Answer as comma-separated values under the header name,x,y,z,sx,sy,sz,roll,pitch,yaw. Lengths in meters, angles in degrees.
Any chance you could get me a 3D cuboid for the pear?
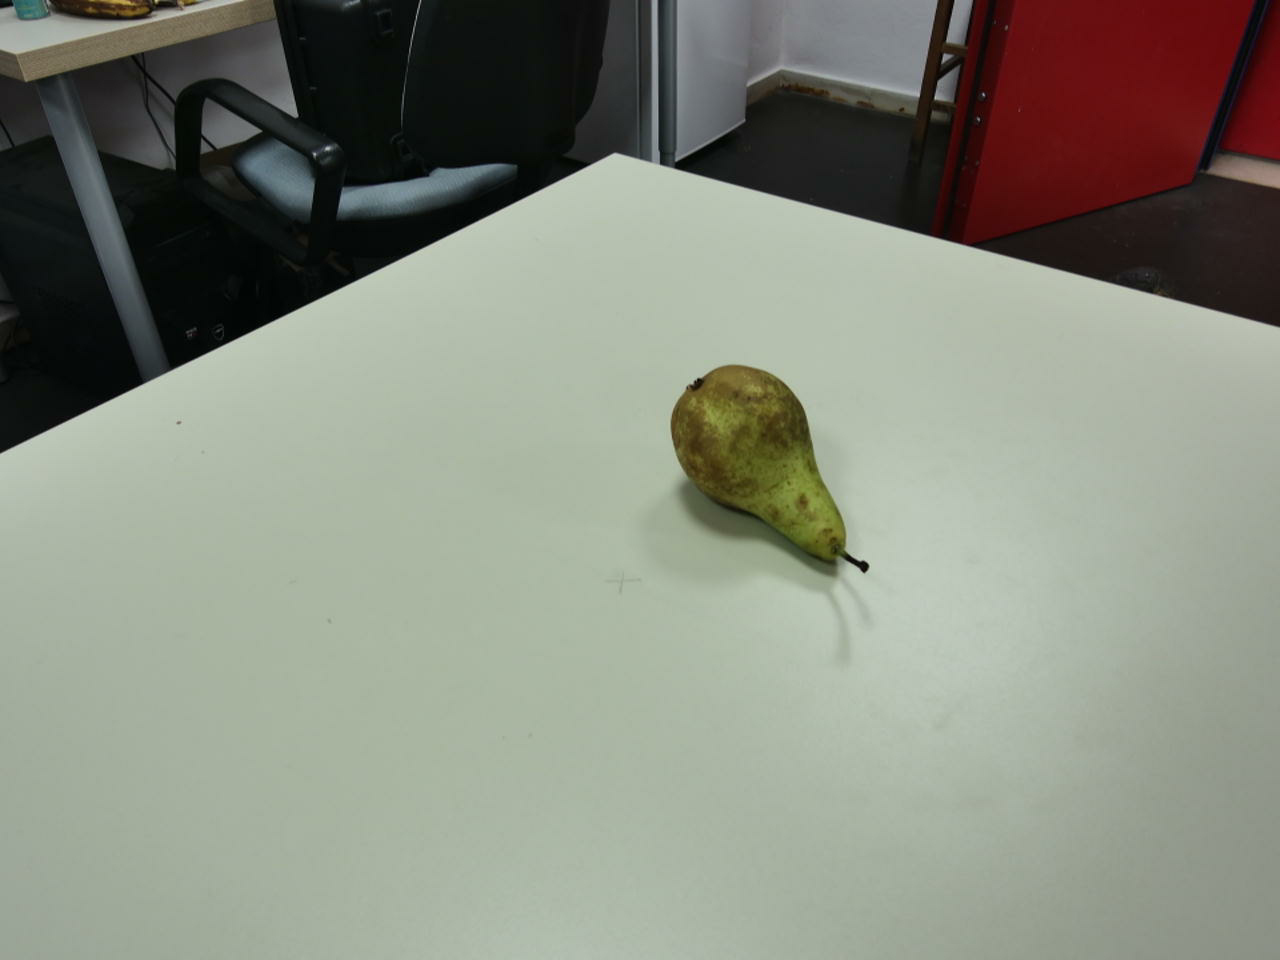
name,x,y,z,sx,sy,sz,roll,pitch,yaw
pear,0.078,-0.009,0.518,0.144,0.075,0.071,31,47,34
